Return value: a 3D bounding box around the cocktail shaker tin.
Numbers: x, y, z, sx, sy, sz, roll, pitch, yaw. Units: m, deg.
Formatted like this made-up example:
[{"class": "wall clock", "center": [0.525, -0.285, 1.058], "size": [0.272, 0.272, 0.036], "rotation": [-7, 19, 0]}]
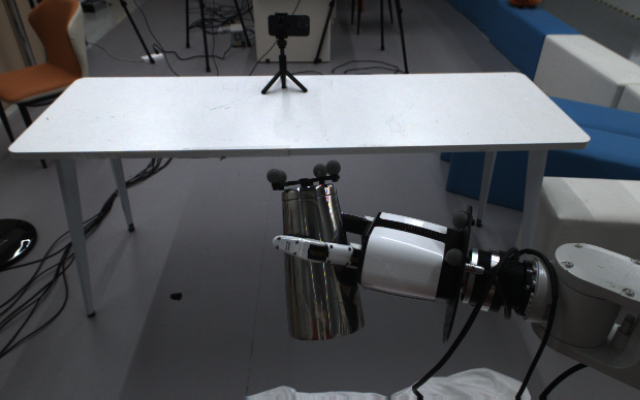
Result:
[{"class": "cocktail shaker tin", "center": [-0.002, 0.070, 0.580], "size": [0.093, 0.170, 0.093], "rotation": [-8, 1, 0]}]
